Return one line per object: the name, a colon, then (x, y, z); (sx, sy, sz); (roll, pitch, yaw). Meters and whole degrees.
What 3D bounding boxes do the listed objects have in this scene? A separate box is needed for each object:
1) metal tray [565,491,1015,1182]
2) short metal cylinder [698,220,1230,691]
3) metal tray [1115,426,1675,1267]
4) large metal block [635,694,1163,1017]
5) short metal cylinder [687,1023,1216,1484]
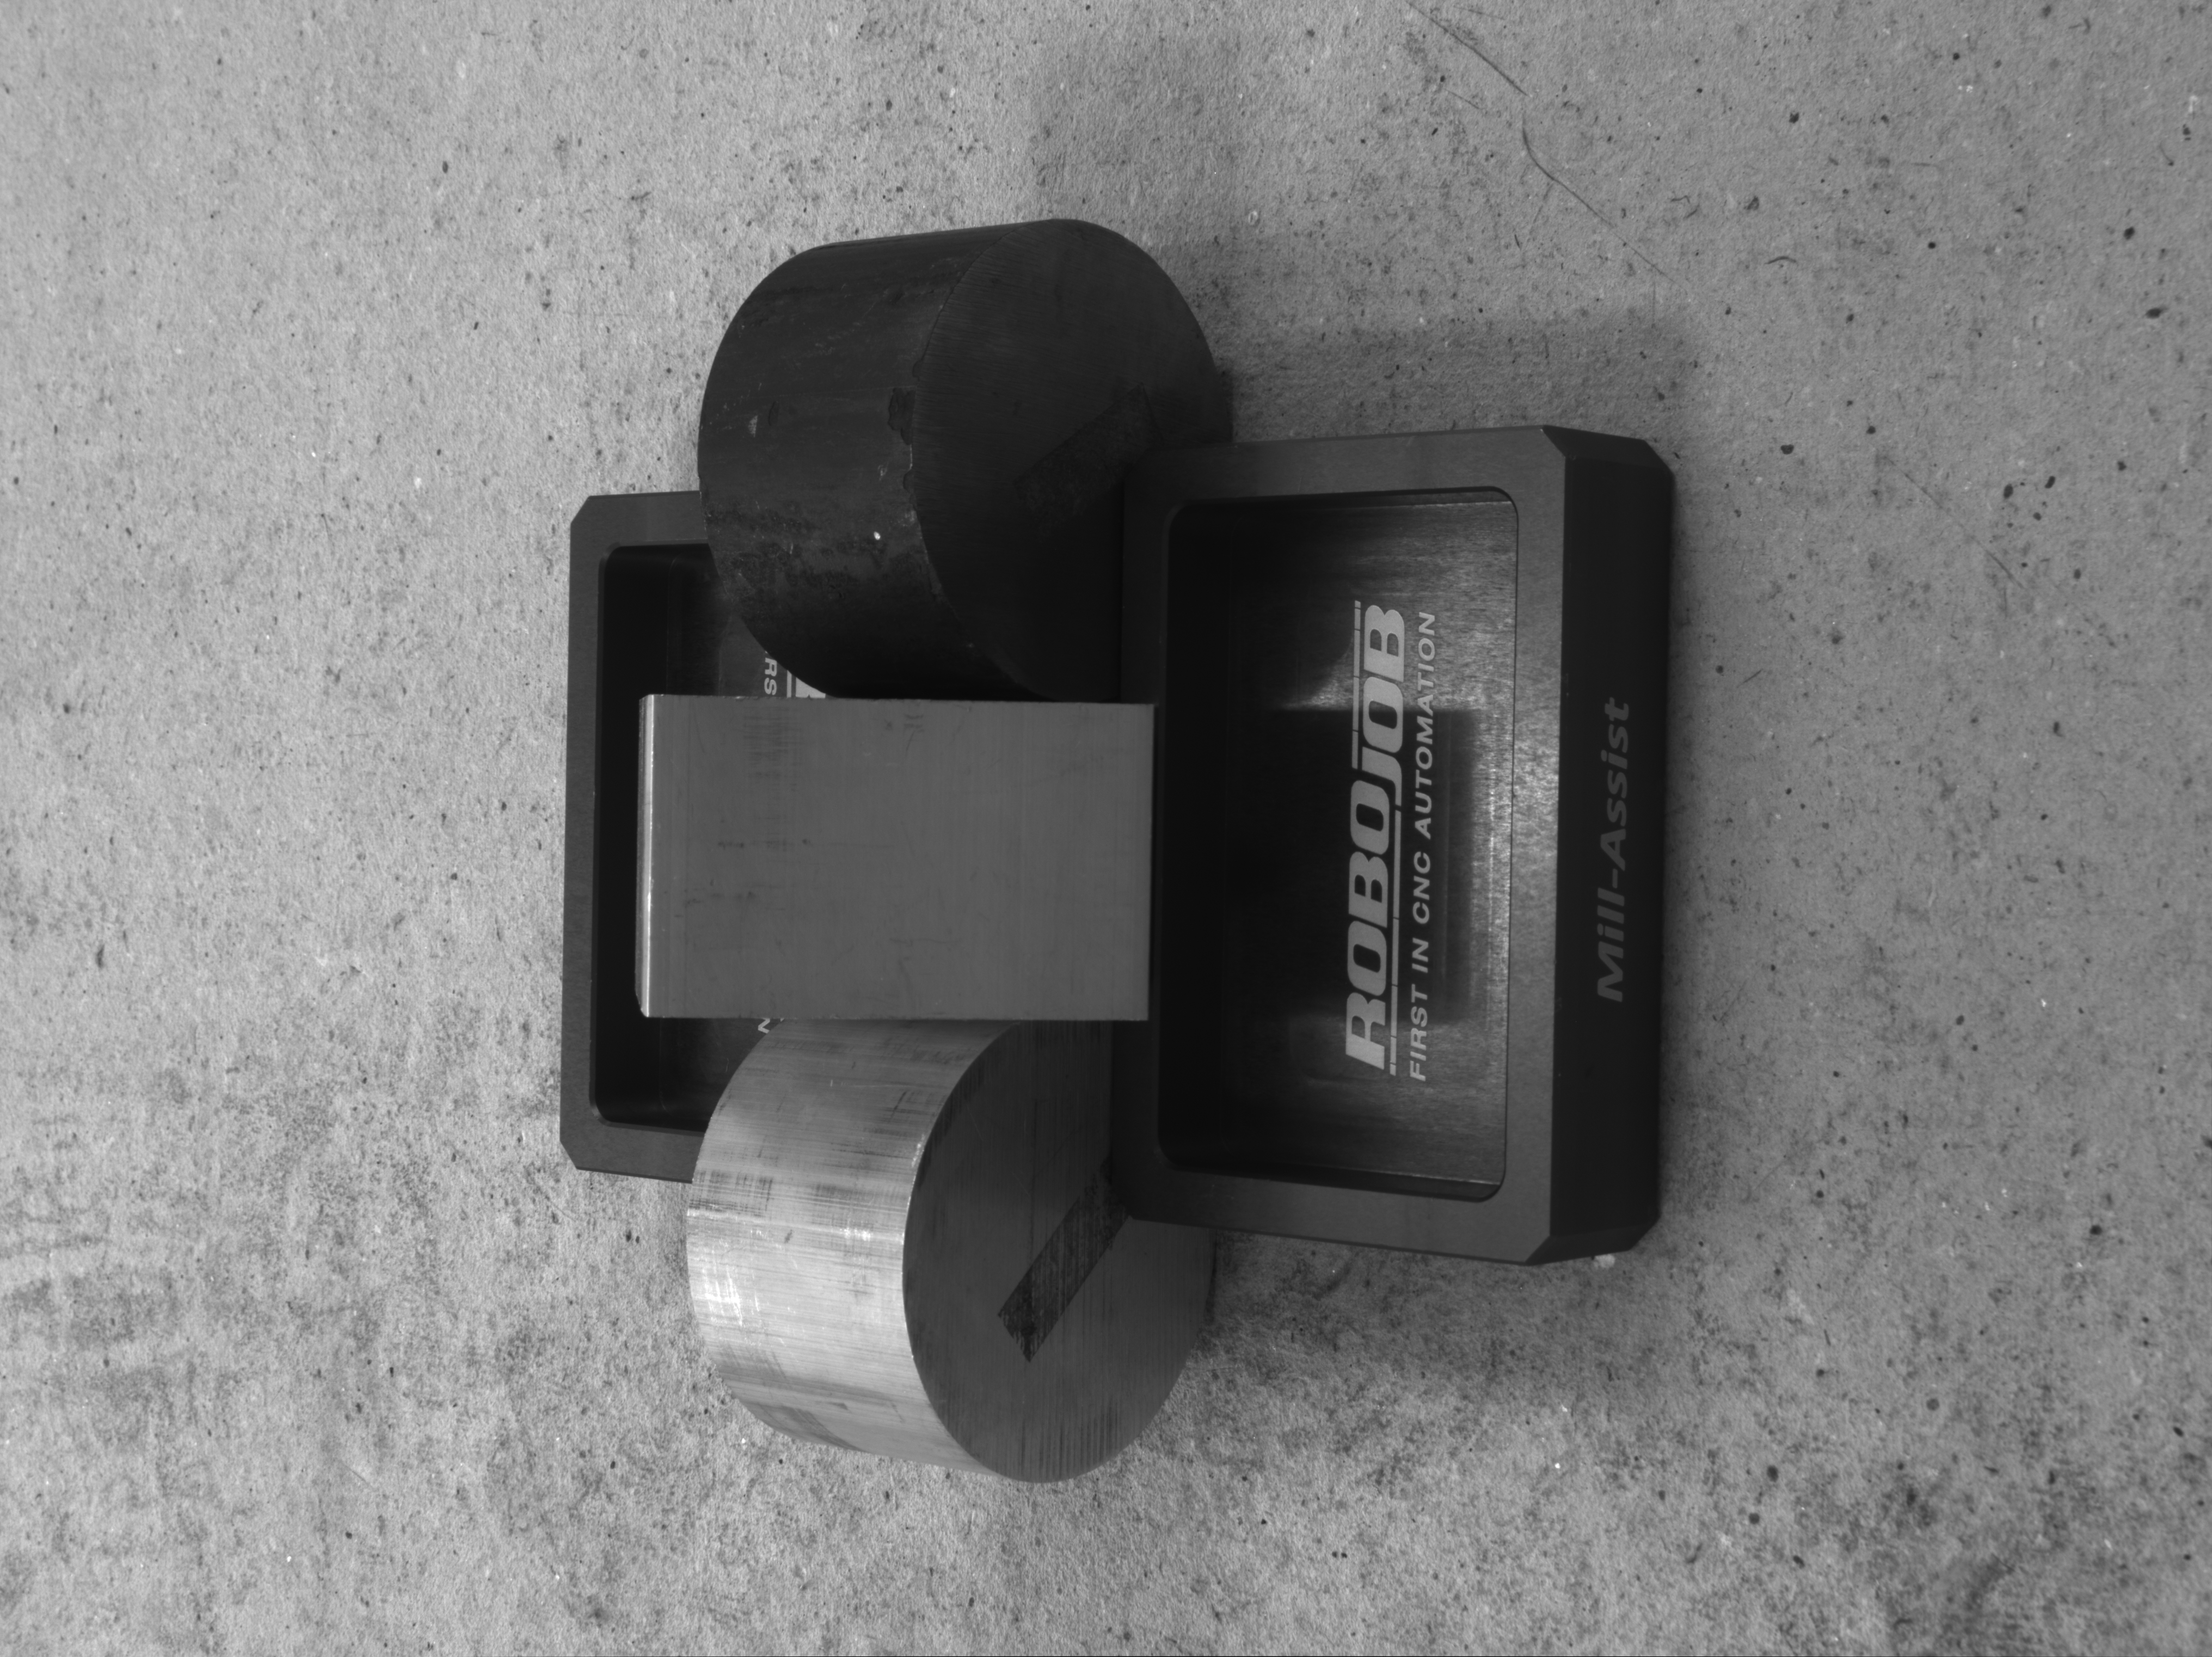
metal tray: (-0.060, 0.002, 0.694); (0.090, 0.030, 0.130); (2, 91, 40)
short metal cylinder: (-0.023, -0.062, 0.629); (0.050, 0.080, 0.080); (3, 92, 40)
metal tray: (0.046, 0.002, 0.604); (0.090, 0.030, 0.130); (2, 91, 40)
large metal block: (-0.037, 0.004, 0.614); (0.080, 0.080, 0.050); (-172, 83, -80)
short metal cylinder: (-0.025, 0.069, 0.631); (0.050, 0.080, 0.080); (3, 92, 40)
